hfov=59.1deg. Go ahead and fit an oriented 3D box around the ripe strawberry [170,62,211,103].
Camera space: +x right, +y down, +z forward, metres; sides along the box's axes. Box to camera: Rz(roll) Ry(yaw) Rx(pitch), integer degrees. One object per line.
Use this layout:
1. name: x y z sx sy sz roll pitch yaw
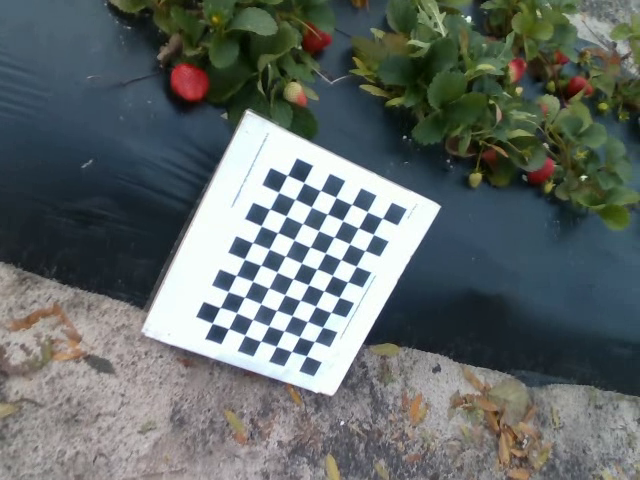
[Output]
1. ripe strawberry: -0.127 -0.135 0.489 0.037 0.046 0.036 -18 -27 2
